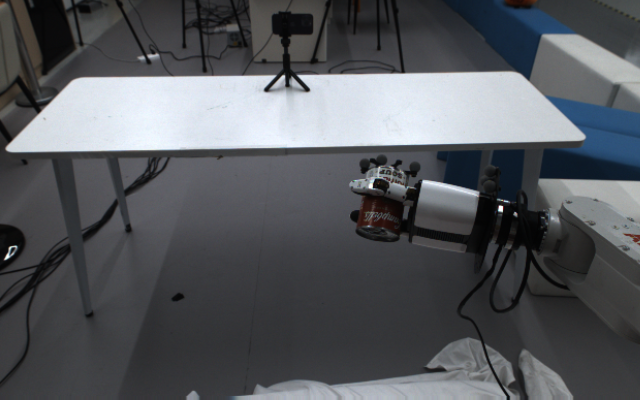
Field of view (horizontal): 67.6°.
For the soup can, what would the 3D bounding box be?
[{"bbox_3d":[0.097,0.006,0.739,0.067,0.067,0.101,9,71,9],"label":"soup can"}]
